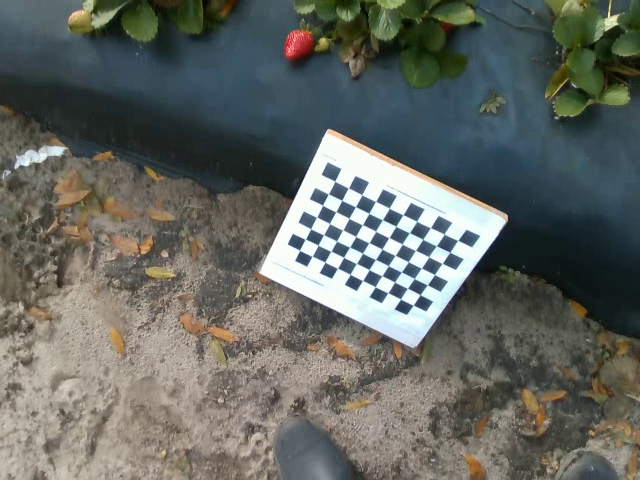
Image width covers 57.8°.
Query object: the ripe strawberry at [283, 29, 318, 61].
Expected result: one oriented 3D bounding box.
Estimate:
[{"bbox_3d":[-0.034,-0.281,0.837,0.045,0.058,0.051,29,-18,-4],"label":"ripe strawberry"}]
